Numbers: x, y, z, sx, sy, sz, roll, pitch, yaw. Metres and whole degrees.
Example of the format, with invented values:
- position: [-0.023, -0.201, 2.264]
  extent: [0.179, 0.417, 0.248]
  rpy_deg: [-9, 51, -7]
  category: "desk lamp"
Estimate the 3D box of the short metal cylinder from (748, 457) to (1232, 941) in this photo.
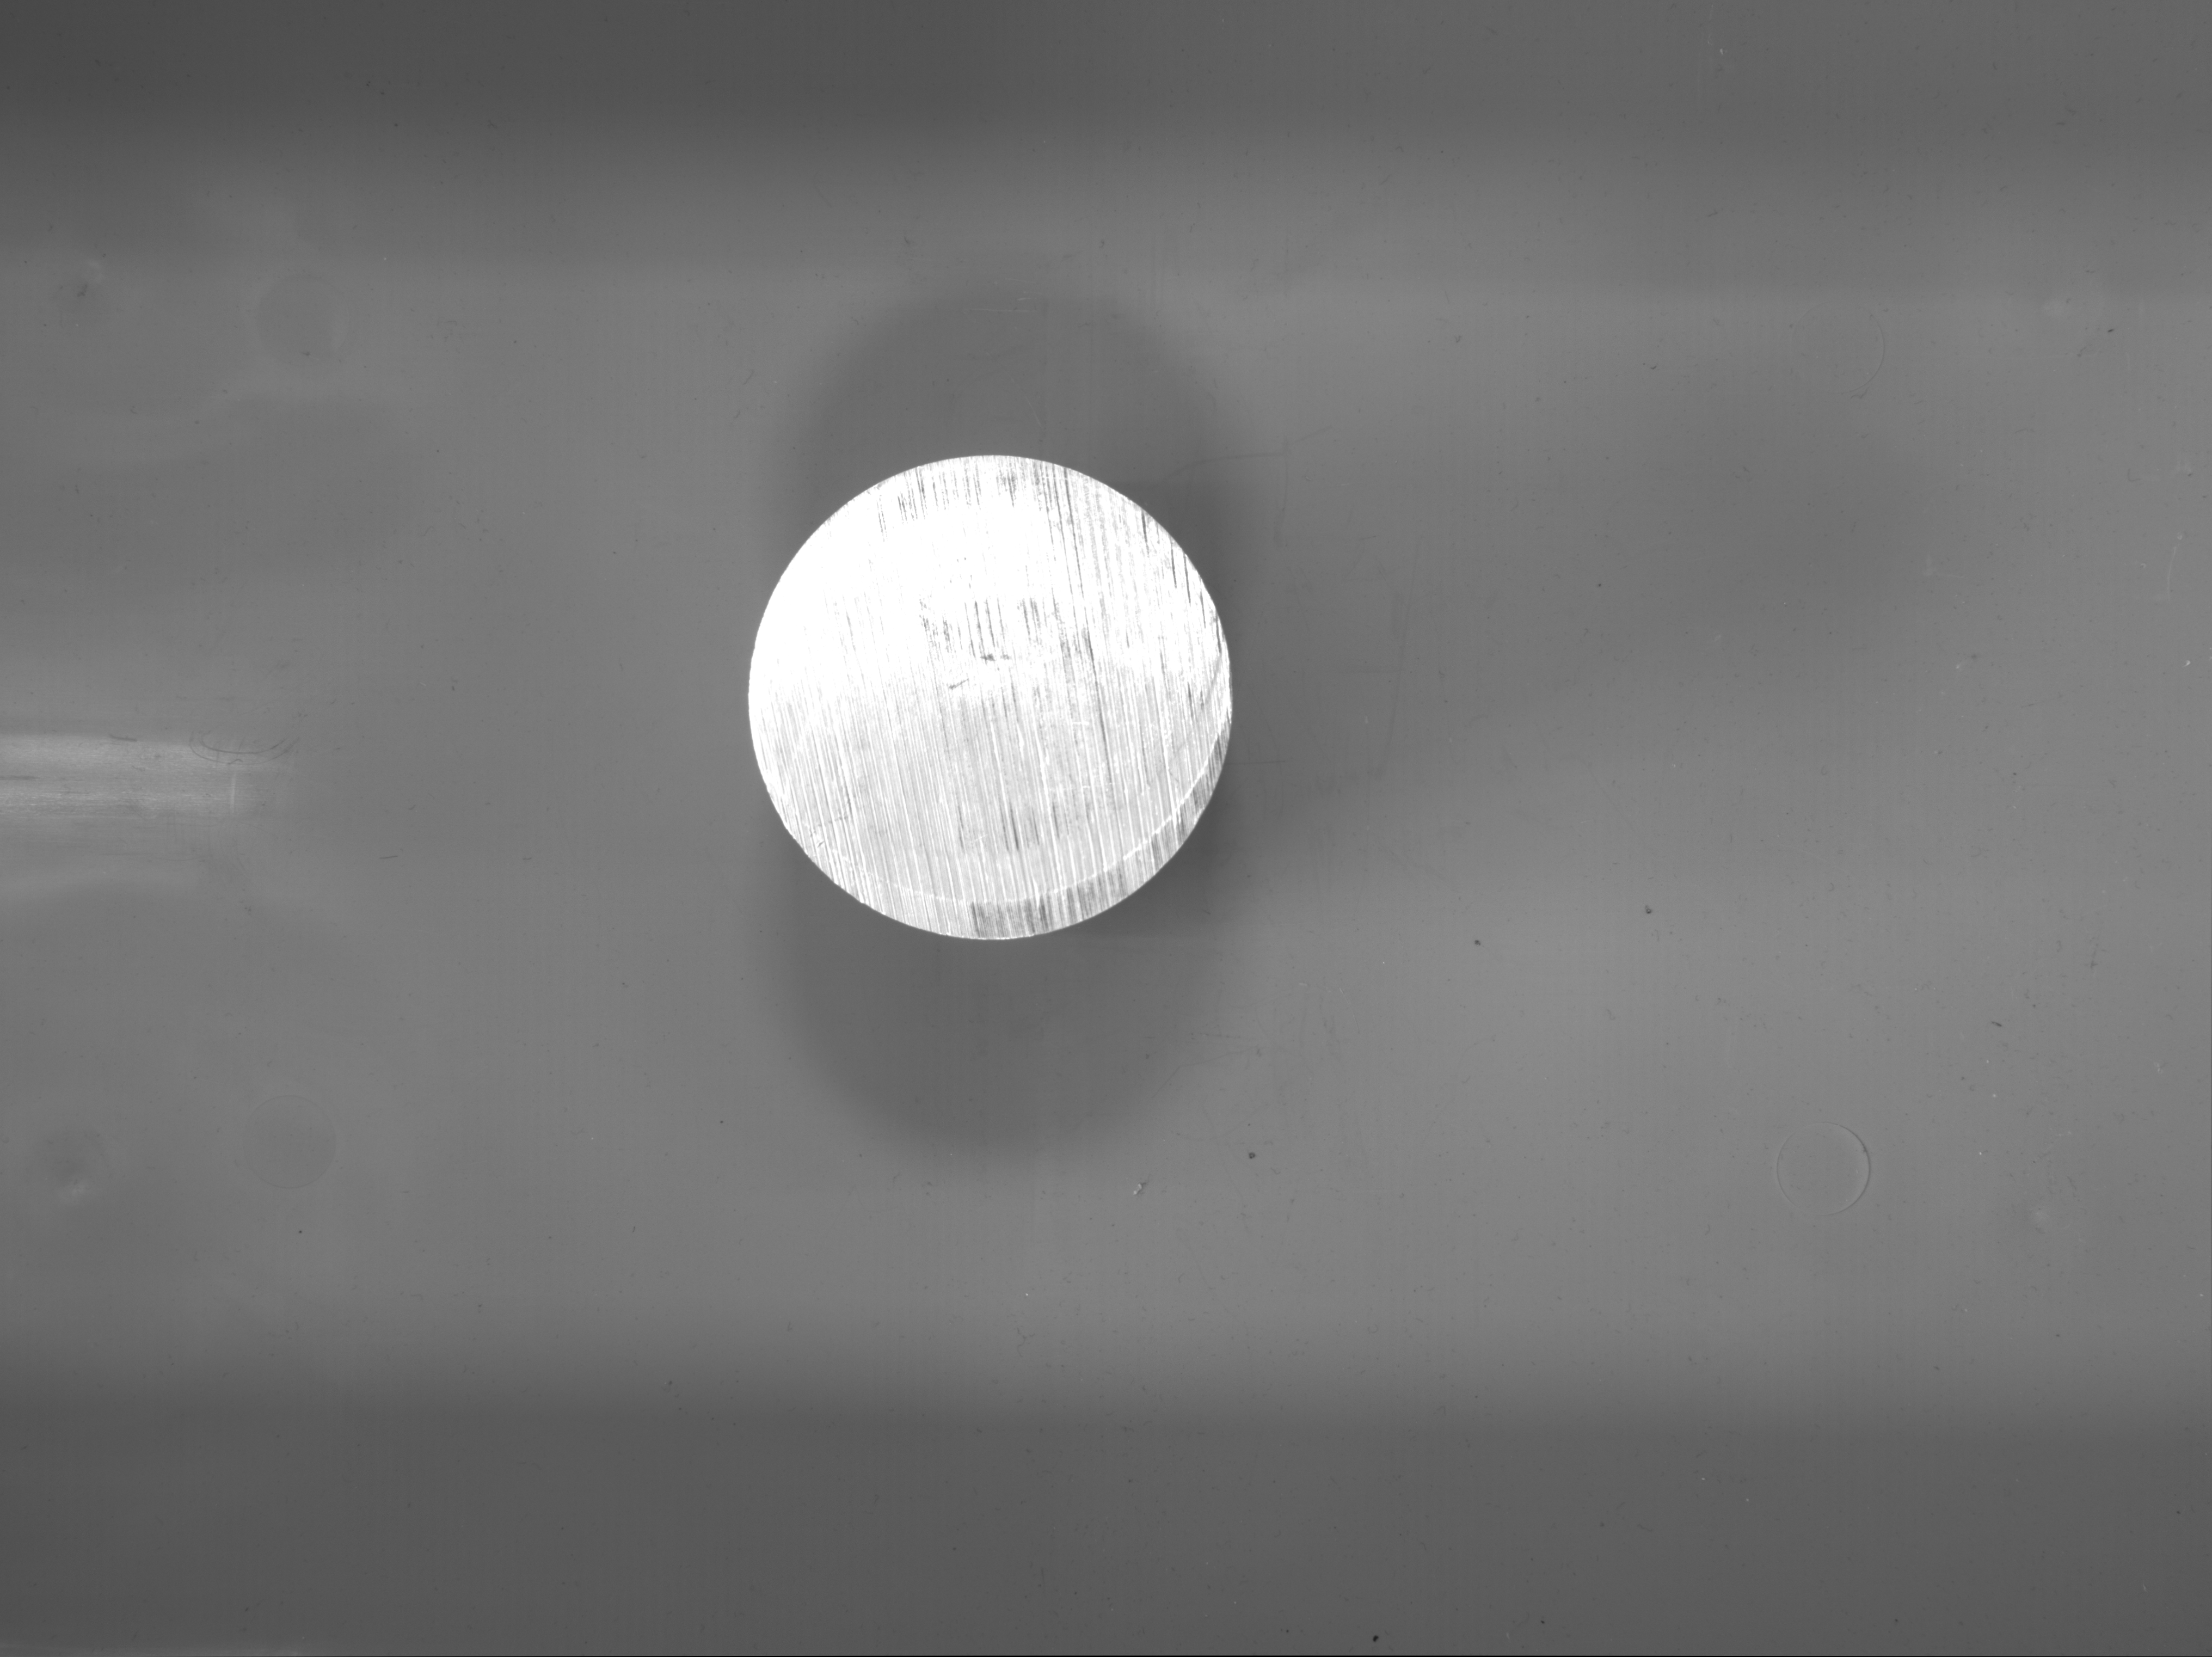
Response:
- position: [-0.019, -0.021, 0.632]
  extent: [0.080, 0.050, 0.080]
  rpy_deg: [0, 90, 0]
  category: "short metal cylinder"
